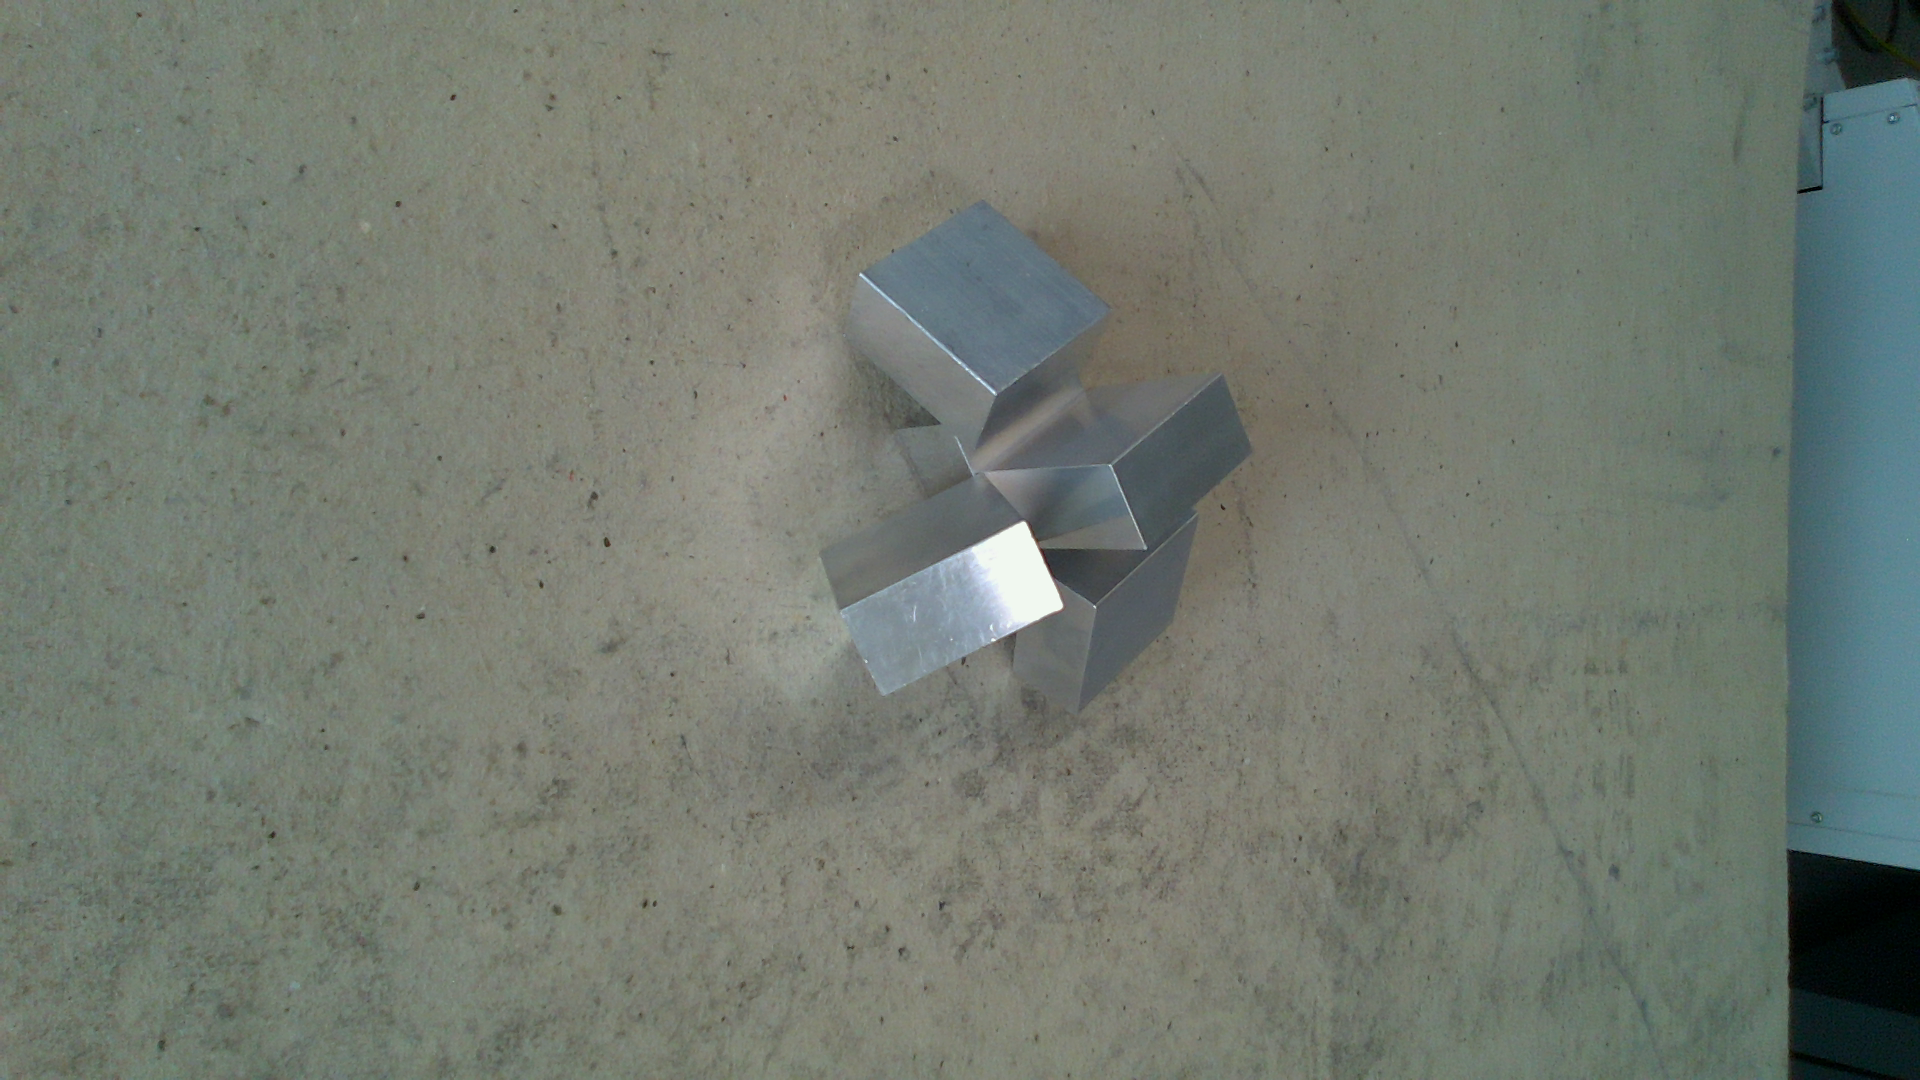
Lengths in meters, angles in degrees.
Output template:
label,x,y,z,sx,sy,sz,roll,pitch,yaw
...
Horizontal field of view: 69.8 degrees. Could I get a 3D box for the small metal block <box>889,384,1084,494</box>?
label,x,y,z,sx,sy,sz,roll,pitch,yaw
small metal block,0.015,-0.024,0.402,0.050,0.025,0.050,-37,113,-31

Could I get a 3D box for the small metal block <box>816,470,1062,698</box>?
label,x,y,z,sx,sy,sz,roll,pitch,yaw
small metal block,-0.007,0.010,0.355,0.050,0.050,0.025,-26,110,-3

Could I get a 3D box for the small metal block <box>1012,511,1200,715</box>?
label,x,y,z,sx,sy,sz,roll,pitch,yaw
small metal block,0.043,0.015,0.409,0.050,0.025,0.050,-39,150,-32

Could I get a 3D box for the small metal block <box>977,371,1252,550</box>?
label,x,y,z,sx,sy,sz,roll,pitch,yaw
small metal block,0.042,-0.021,0.376,0.050,0.050,0.025,-39,114,-33

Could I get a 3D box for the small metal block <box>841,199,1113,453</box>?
label,x,y,z,sx,sy,sz,roll,pitch,yaw
small metal block,0.004,-0.059,0.377,0.050,0.025,0.050,43,56,14
